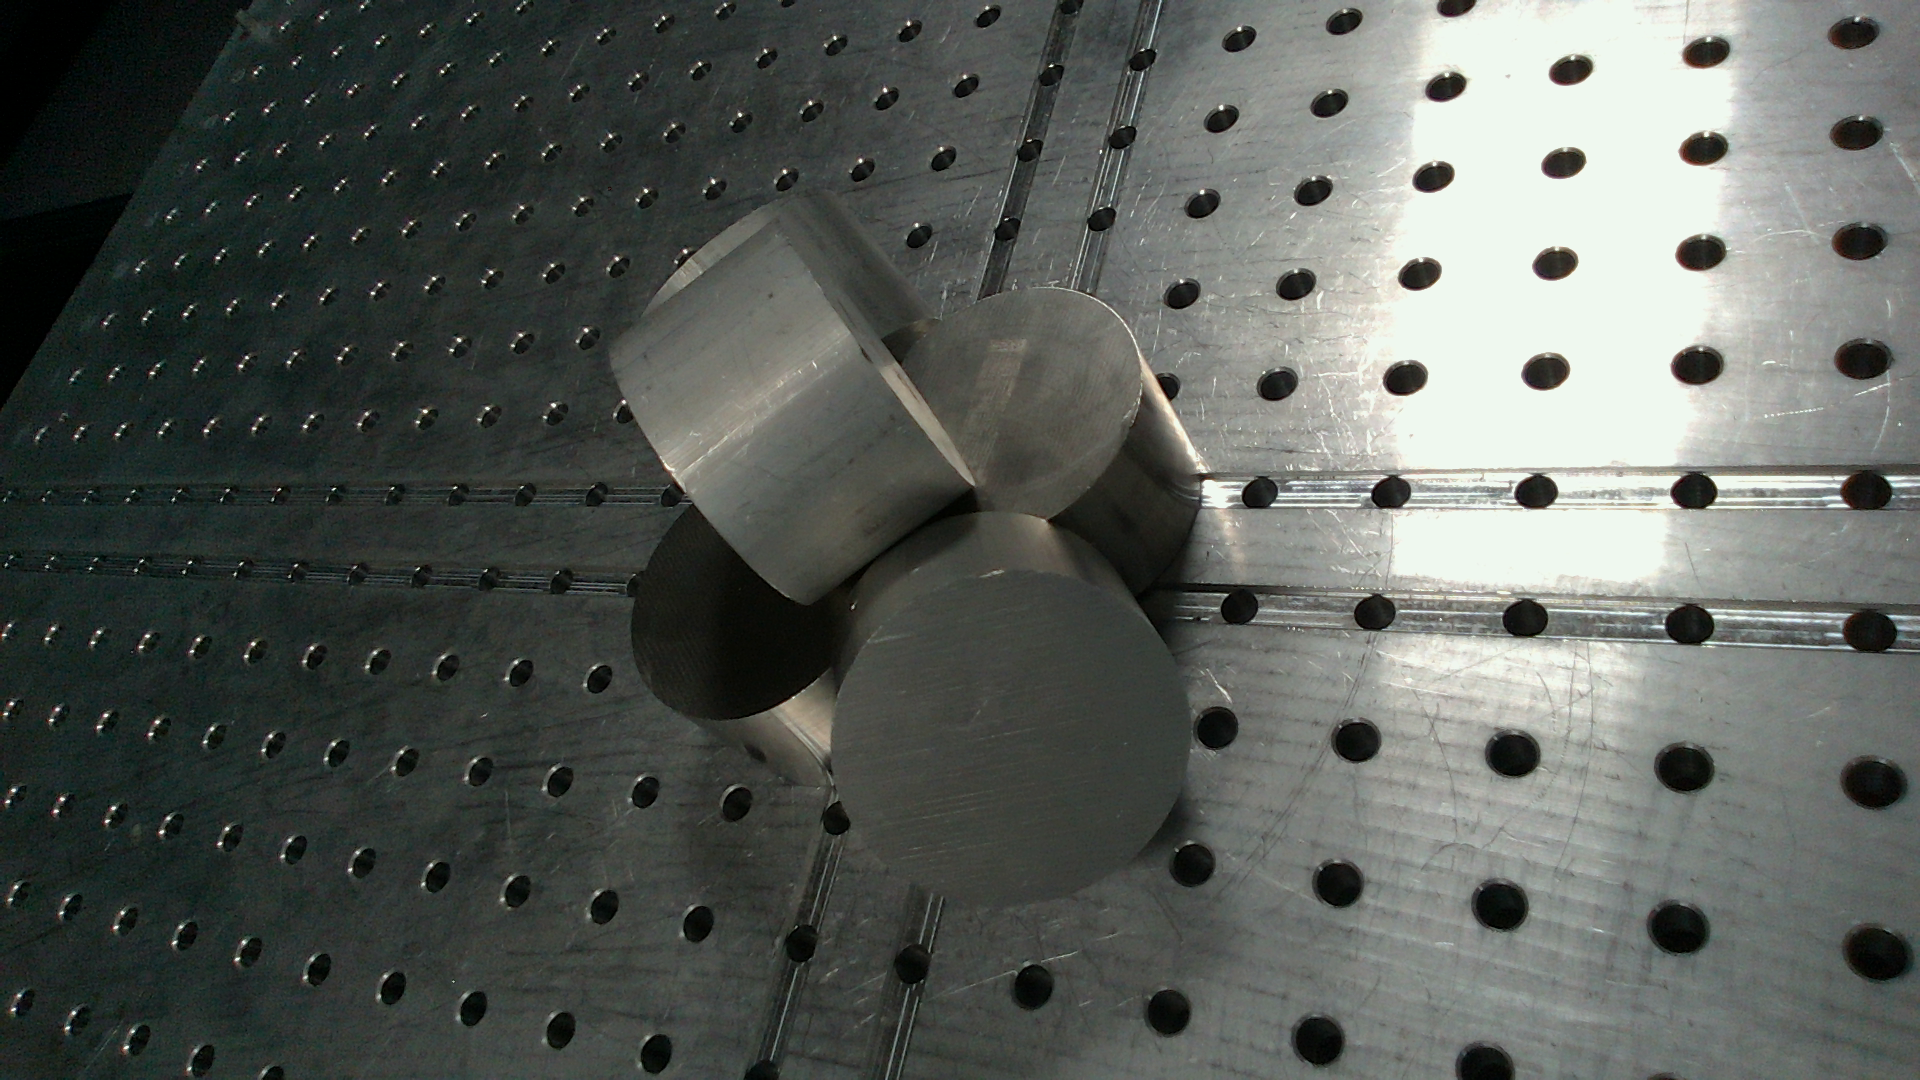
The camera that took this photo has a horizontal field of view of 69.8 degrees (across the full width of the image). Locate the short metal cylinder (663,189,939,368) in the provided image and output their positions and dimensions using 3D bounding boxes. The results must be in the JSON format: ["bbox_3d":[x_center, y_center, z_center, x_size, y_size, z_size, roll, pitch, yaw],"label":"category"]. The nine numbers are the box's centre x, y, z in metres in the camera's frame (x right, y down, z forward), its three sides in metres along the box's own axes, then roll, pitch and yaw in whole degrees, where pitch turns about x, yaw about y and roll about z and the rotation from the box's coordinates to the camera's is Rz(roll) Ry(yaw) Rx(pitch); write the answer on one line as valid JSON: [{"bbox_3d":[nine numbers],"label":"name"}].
[{"bbox_3d":[-0.052,-0.059,0.417,0.080,0.080,0.050,-40,85,1],"label":"short metal cylinder"}]

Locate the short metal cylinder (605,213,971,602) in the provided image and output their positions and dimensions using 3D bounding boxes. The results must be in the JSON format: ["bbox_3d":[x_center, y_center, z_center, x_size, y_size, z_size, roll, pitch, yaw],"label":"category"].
[{"bbox_3d":[-0.040,-0.032,0.336,0.050,0.080,0.080,-36,51,5],"label":"short metal cylinder"}]

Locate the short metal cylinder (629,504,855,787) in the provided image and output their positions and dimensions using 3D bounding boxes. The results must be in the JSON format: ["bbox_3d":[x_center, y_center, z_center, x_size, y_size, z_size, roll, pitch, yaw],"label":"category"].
[{"bbox_3d":[-0.045,0.023,0.390,0.080,0.050,0.080,-14,56,21],"label":"short metal cylinder"}]

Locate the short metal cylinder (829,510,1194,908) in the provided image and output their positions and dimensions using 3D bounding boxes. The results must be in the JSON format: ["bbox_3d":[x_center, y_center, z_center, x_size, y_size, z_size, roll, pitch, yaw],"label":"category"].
[{"bbox_3d":[0.010,0.038,0.323,0.080,0.080,0.050,-35,15,5],"label":"short metal cylinder"}]

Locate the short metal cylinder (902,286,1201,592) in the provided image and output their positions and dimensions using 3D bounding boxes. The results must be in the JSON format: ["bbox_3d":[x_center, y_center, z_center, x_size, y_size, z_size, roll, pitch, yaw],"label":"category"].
[{"bbox_3d":[0.021,-0.023,0.383,0.080,0.050,0.080,-14,56,21],"label":"short metal cylinder"}]
